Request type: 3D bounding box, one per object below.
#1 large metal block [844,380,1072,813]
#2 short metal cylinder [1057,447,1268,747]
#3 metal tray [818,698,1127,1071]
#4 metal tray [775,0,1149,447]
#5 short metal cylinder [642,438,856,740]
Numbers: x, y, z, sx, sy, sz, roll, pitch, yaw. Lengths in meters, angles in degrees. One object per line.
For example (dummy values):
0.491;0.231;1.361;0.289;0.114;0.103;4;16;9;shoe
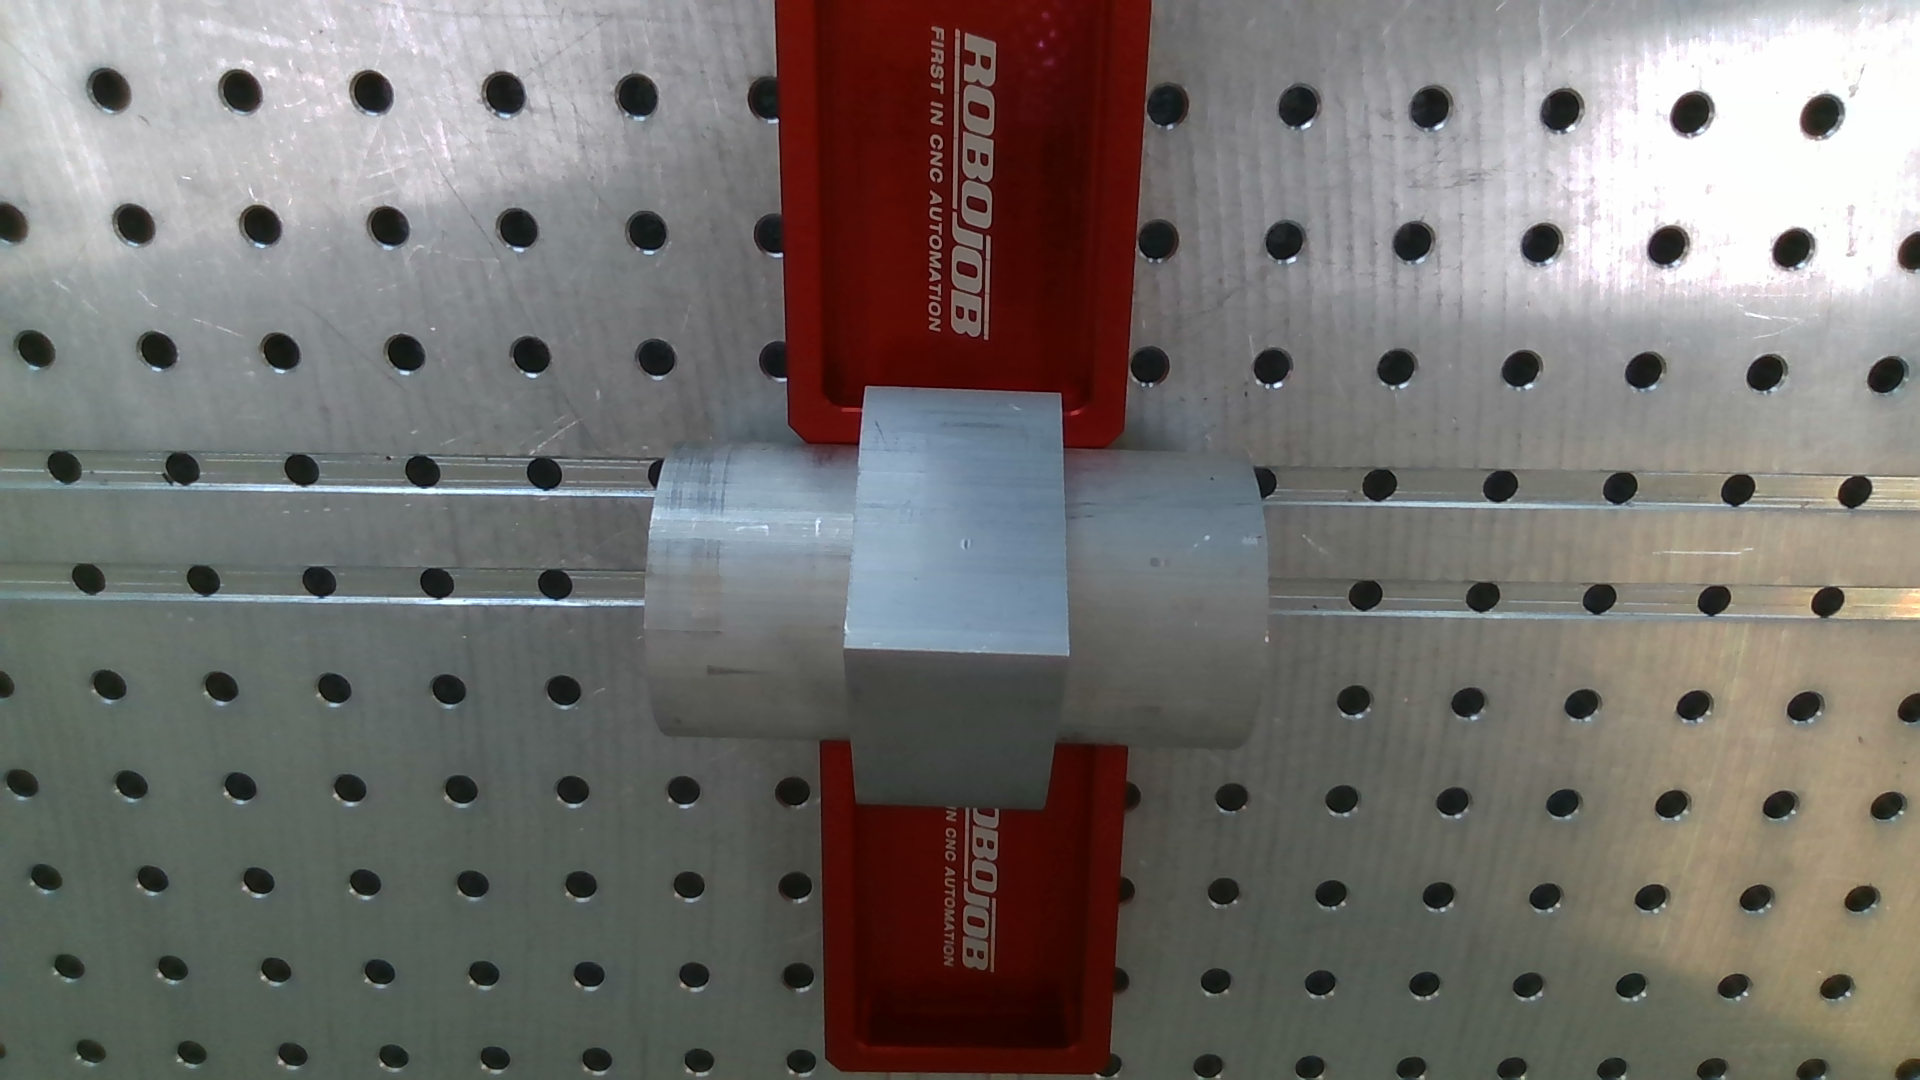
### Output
-0.001;0.016;0.357;0.050;0.080;0.080;2;144;-1;large metal block
0.049;0.015;0.372;0.050;0.080;0.080;1;110;0;short metal cylinder
0.003;0.104;0.431;0.090;0.030;0.130;1;110;0;metal tray
0.000;-0.092;0.359;0.090;0.030;0.130;1;110;0;metal tray
-0.052;0.013;0.371;0.050;0.080;0.080;2;110;-1;short metal cylinder
